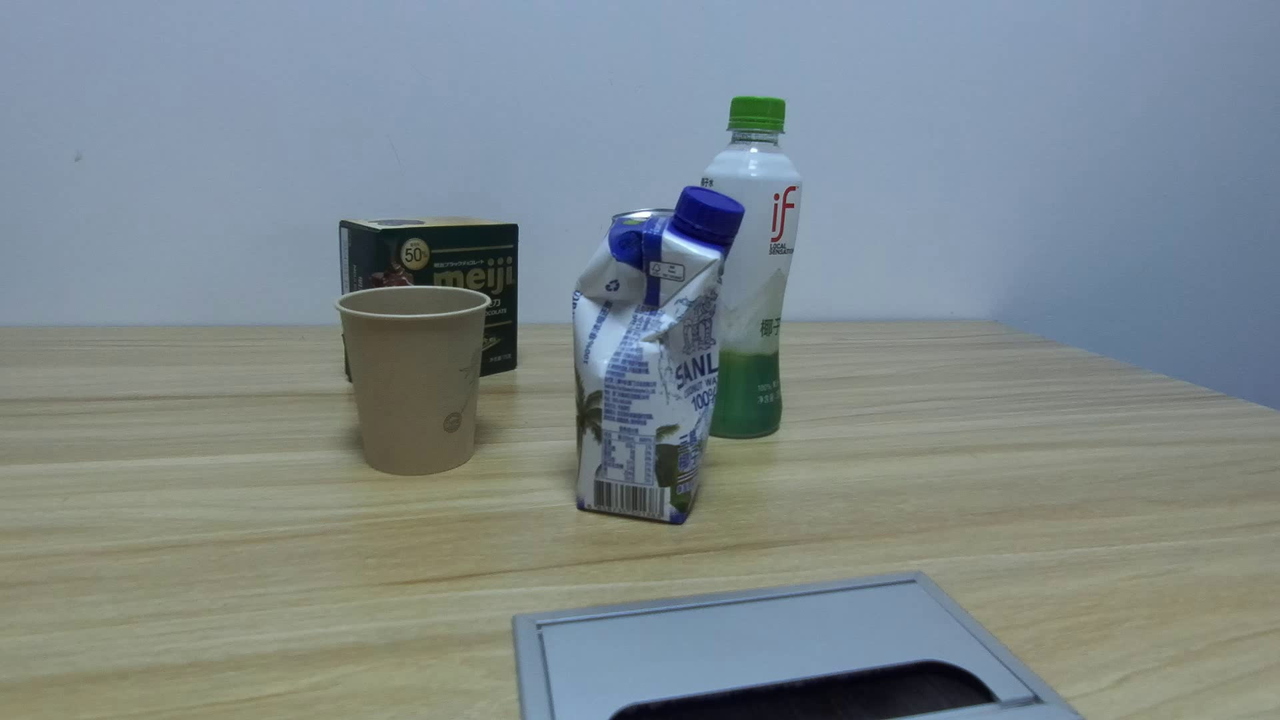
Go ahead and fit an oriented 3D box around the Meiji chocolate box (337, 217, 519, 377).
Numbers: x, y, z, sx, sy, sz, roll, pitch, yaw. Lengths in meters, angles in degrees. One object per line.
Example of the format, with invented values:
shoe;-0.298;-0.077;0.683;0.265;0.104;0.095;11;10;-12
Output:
Meiji chocolate box;-0.142;-0.040;0.486;0.056;0.109;0.110;16;19;40

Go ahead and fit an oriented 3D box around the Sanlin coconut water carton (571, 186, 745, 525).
Sanlin coconut water carton;0.005;0.001;0.331;0.070;0.143;0.061;6;6;10

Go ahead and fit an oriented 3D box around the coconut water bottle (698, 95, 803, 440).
coconut water bottle;0.062;-0.052;0.416;0.063;0.188;0.063;3;14;0

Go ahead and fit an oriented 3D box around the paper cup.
paper cup;-0.113;0.010;0.362;0.075;0.082;0.075;3;16;-1
